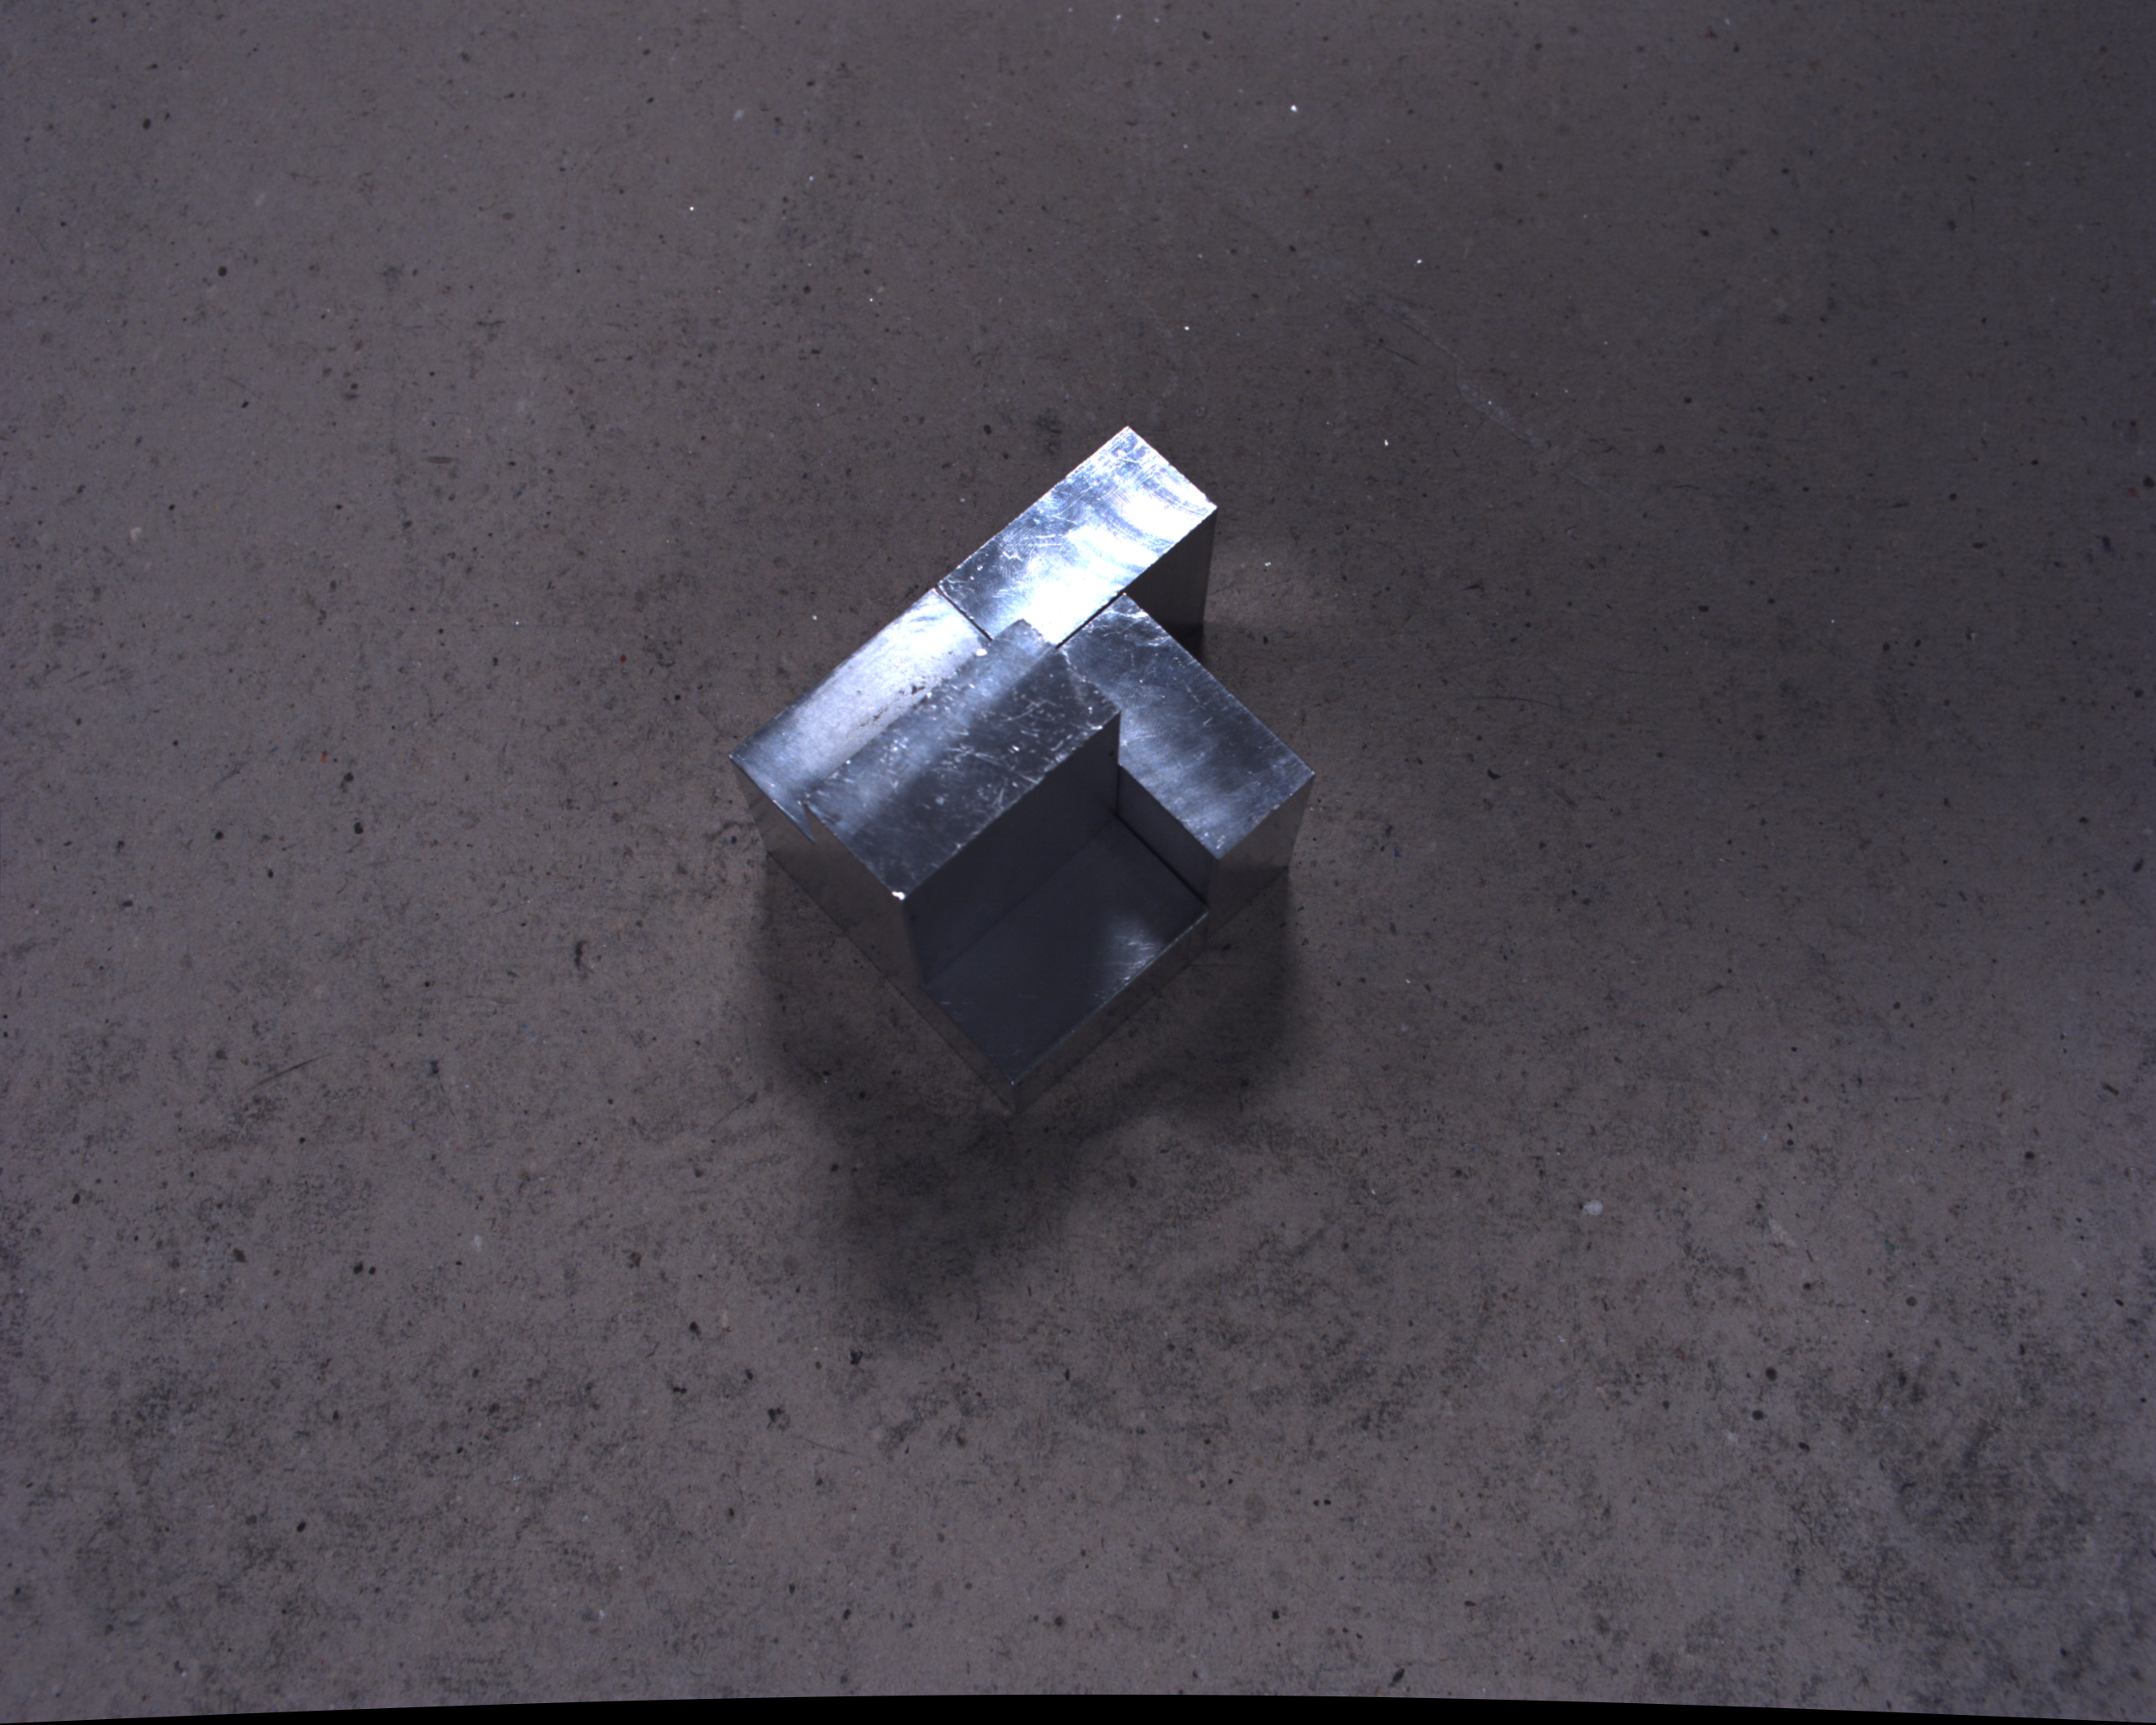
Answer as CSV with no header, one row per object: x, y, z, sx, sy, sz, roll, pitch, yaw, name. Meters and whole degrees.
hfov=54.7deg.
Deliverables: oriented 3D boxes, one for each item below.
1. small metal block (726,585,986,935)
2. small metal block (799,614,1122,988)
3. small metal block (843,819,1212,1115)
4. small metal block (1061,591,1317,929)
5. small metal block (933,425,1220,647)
-0.037,-0.019,0.402,0.050,0.050,0.025,-42,76,-14,small metal block
-0.020,-0.010,0.373,0.050,0.050,0.025,-42,76,-14,small metal block
-0.010,0.012,0.405,0.050,0.025,0.050,-41,75,-14,small metal block
0.017,-0.017,0.402,0.025,0.050,0.050,-41,76,-14,small metal block
0.000,-0.051,0.414,0.050,0.050,0.025,-42,76,-14,small metal block
